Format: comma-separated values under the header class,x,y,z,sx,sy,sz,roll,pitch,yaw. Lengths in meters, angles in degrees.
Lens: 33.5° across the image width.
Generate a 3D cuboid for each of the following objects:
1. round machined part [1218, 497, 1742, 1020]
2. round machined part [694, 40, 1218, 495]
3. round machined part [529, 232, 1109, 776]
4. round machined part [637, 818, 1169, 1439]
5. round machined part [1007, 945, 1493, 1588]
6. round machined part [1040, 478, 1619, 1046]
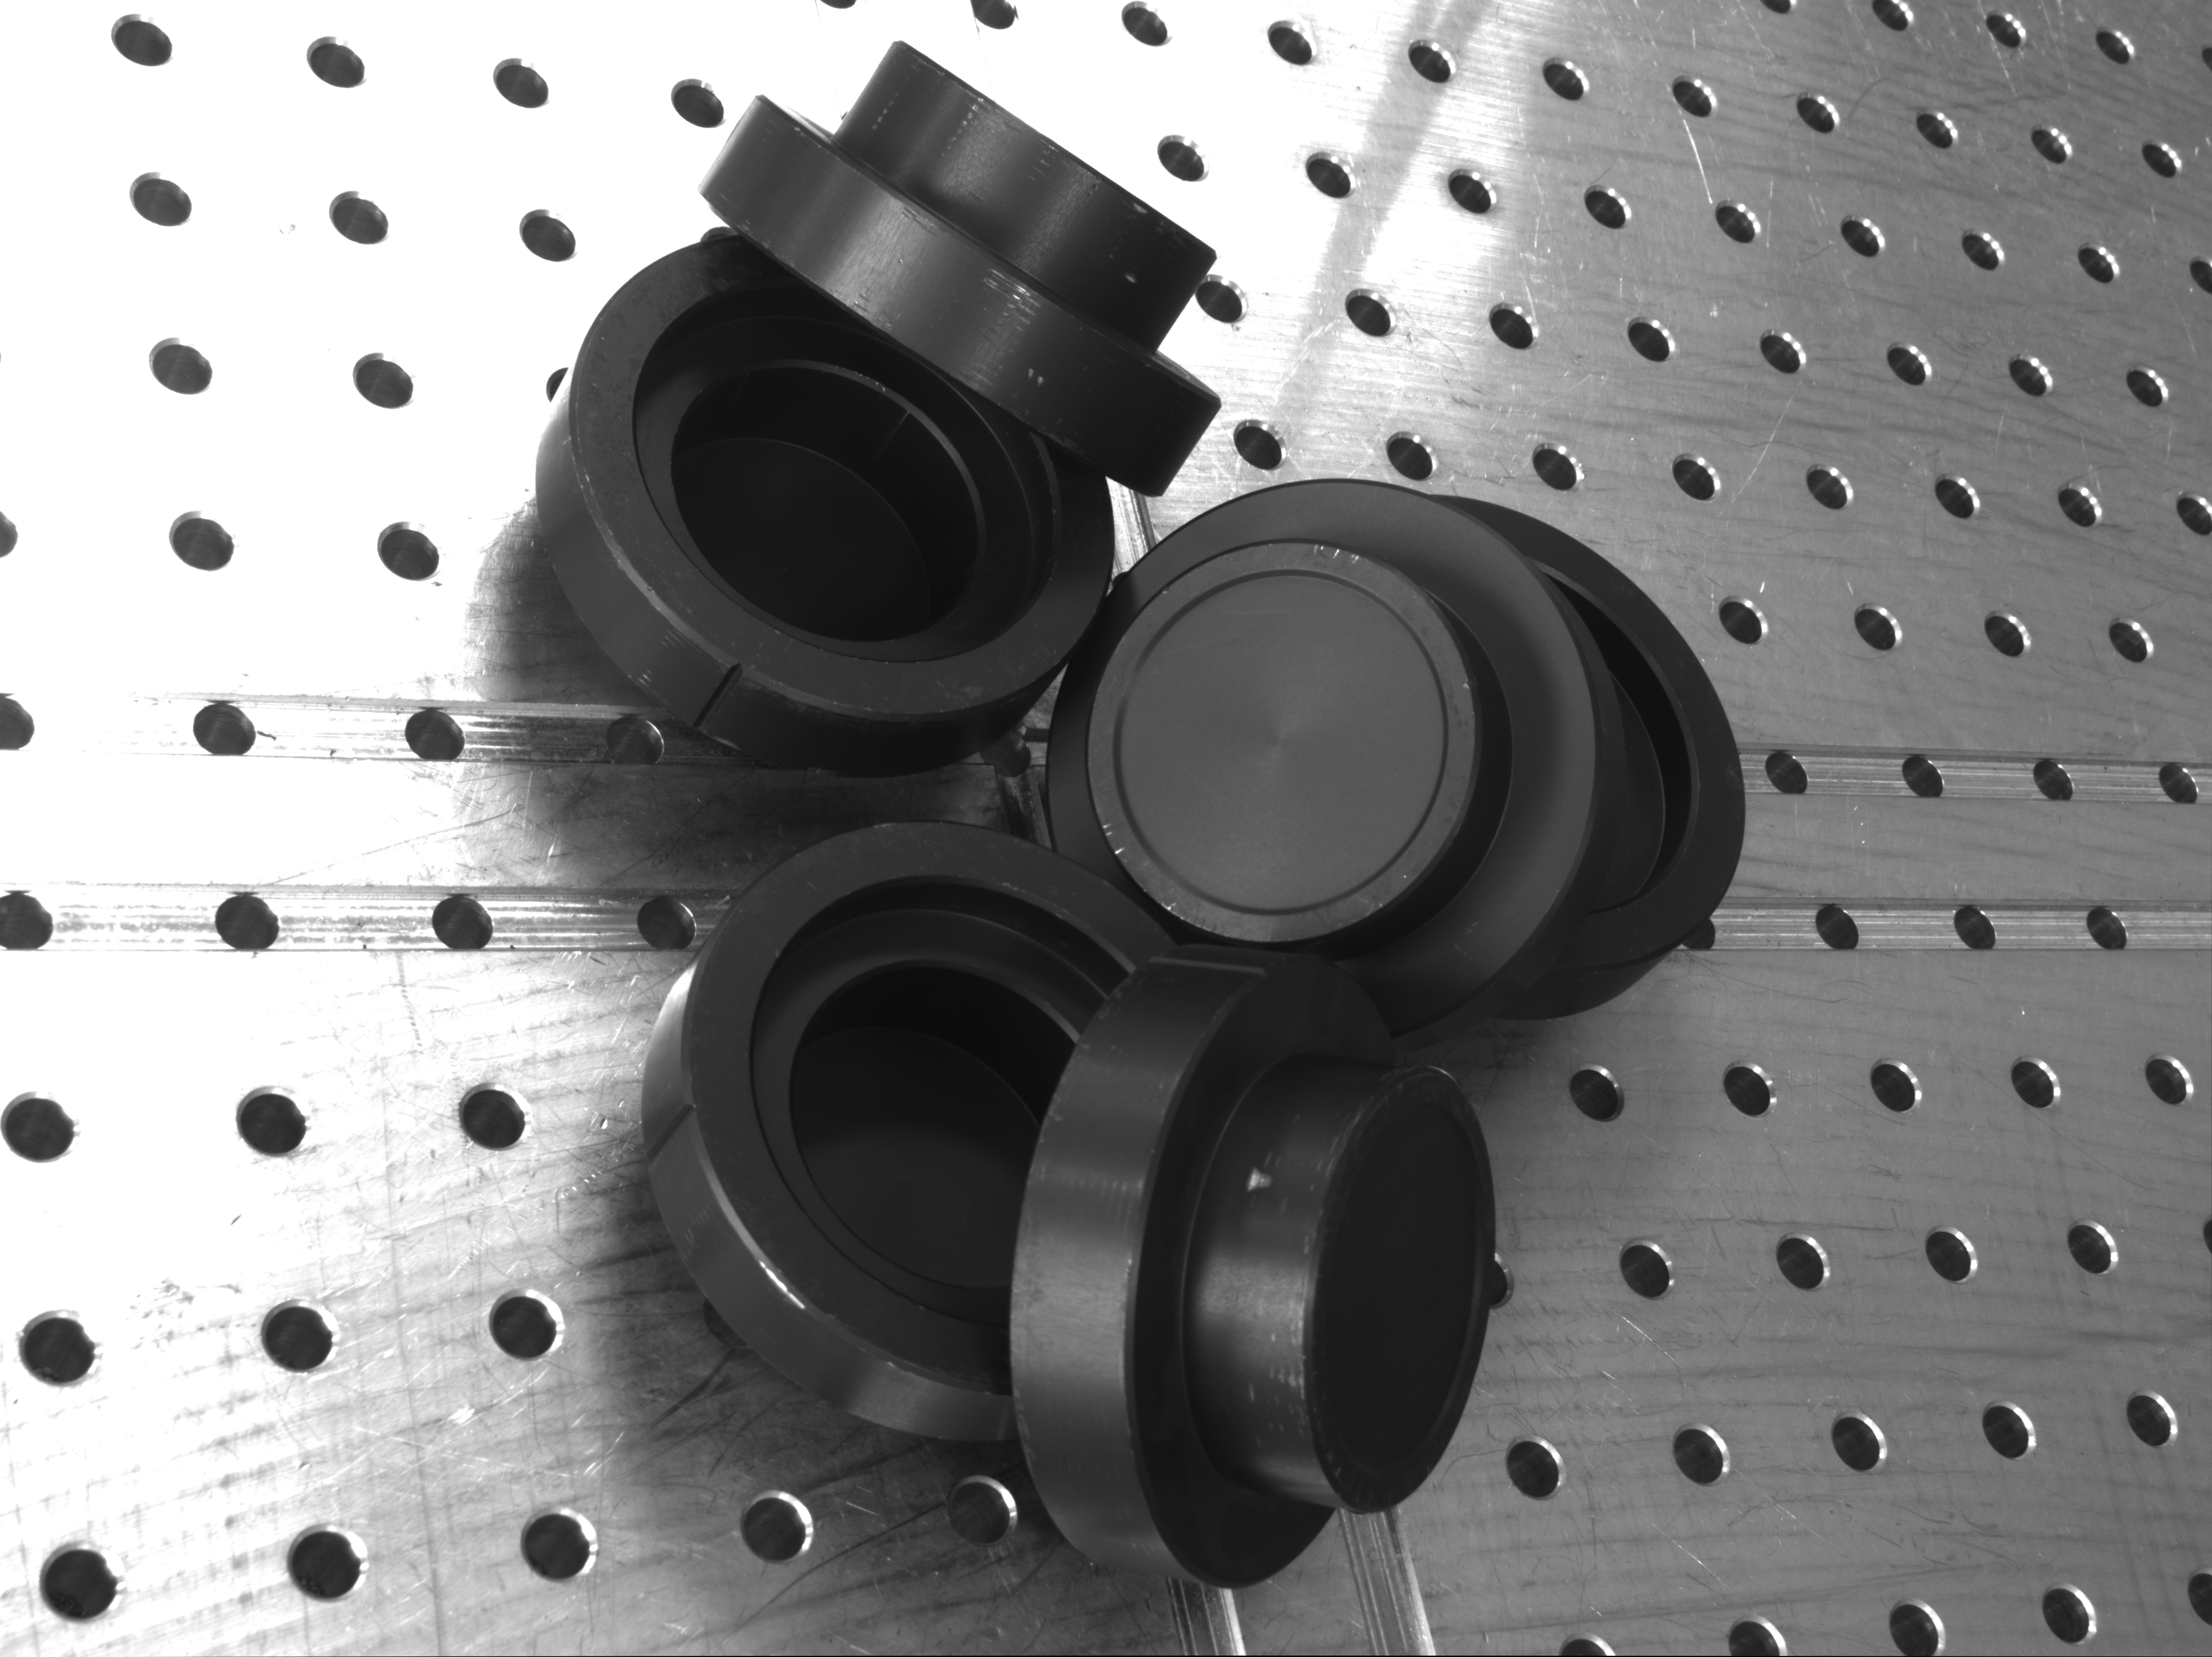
class,x,y,z,sx,sy,sz,roll,pitch,yaw
round machined part,0.063,-0.009,0.670,0.098,0.042,0.098,13,56,-21
round machined part,-0.020,-0.103,0.648,0.098,0.042,0.098,33,7,-4
round machined part,-0.052,-0.051,0.634,0.098,0.042,0.098,13,56,-21
round machined part,-0.028,0.051,0.585,0.098,0.042,0.098,13,56,-21
round machined part,0.027,0.068,0.568,0.098,0.042,0.098,-14,106,-60
round machined part,0.035,-0.012,0.618,0.098,0.098,0.042,63,12,17
